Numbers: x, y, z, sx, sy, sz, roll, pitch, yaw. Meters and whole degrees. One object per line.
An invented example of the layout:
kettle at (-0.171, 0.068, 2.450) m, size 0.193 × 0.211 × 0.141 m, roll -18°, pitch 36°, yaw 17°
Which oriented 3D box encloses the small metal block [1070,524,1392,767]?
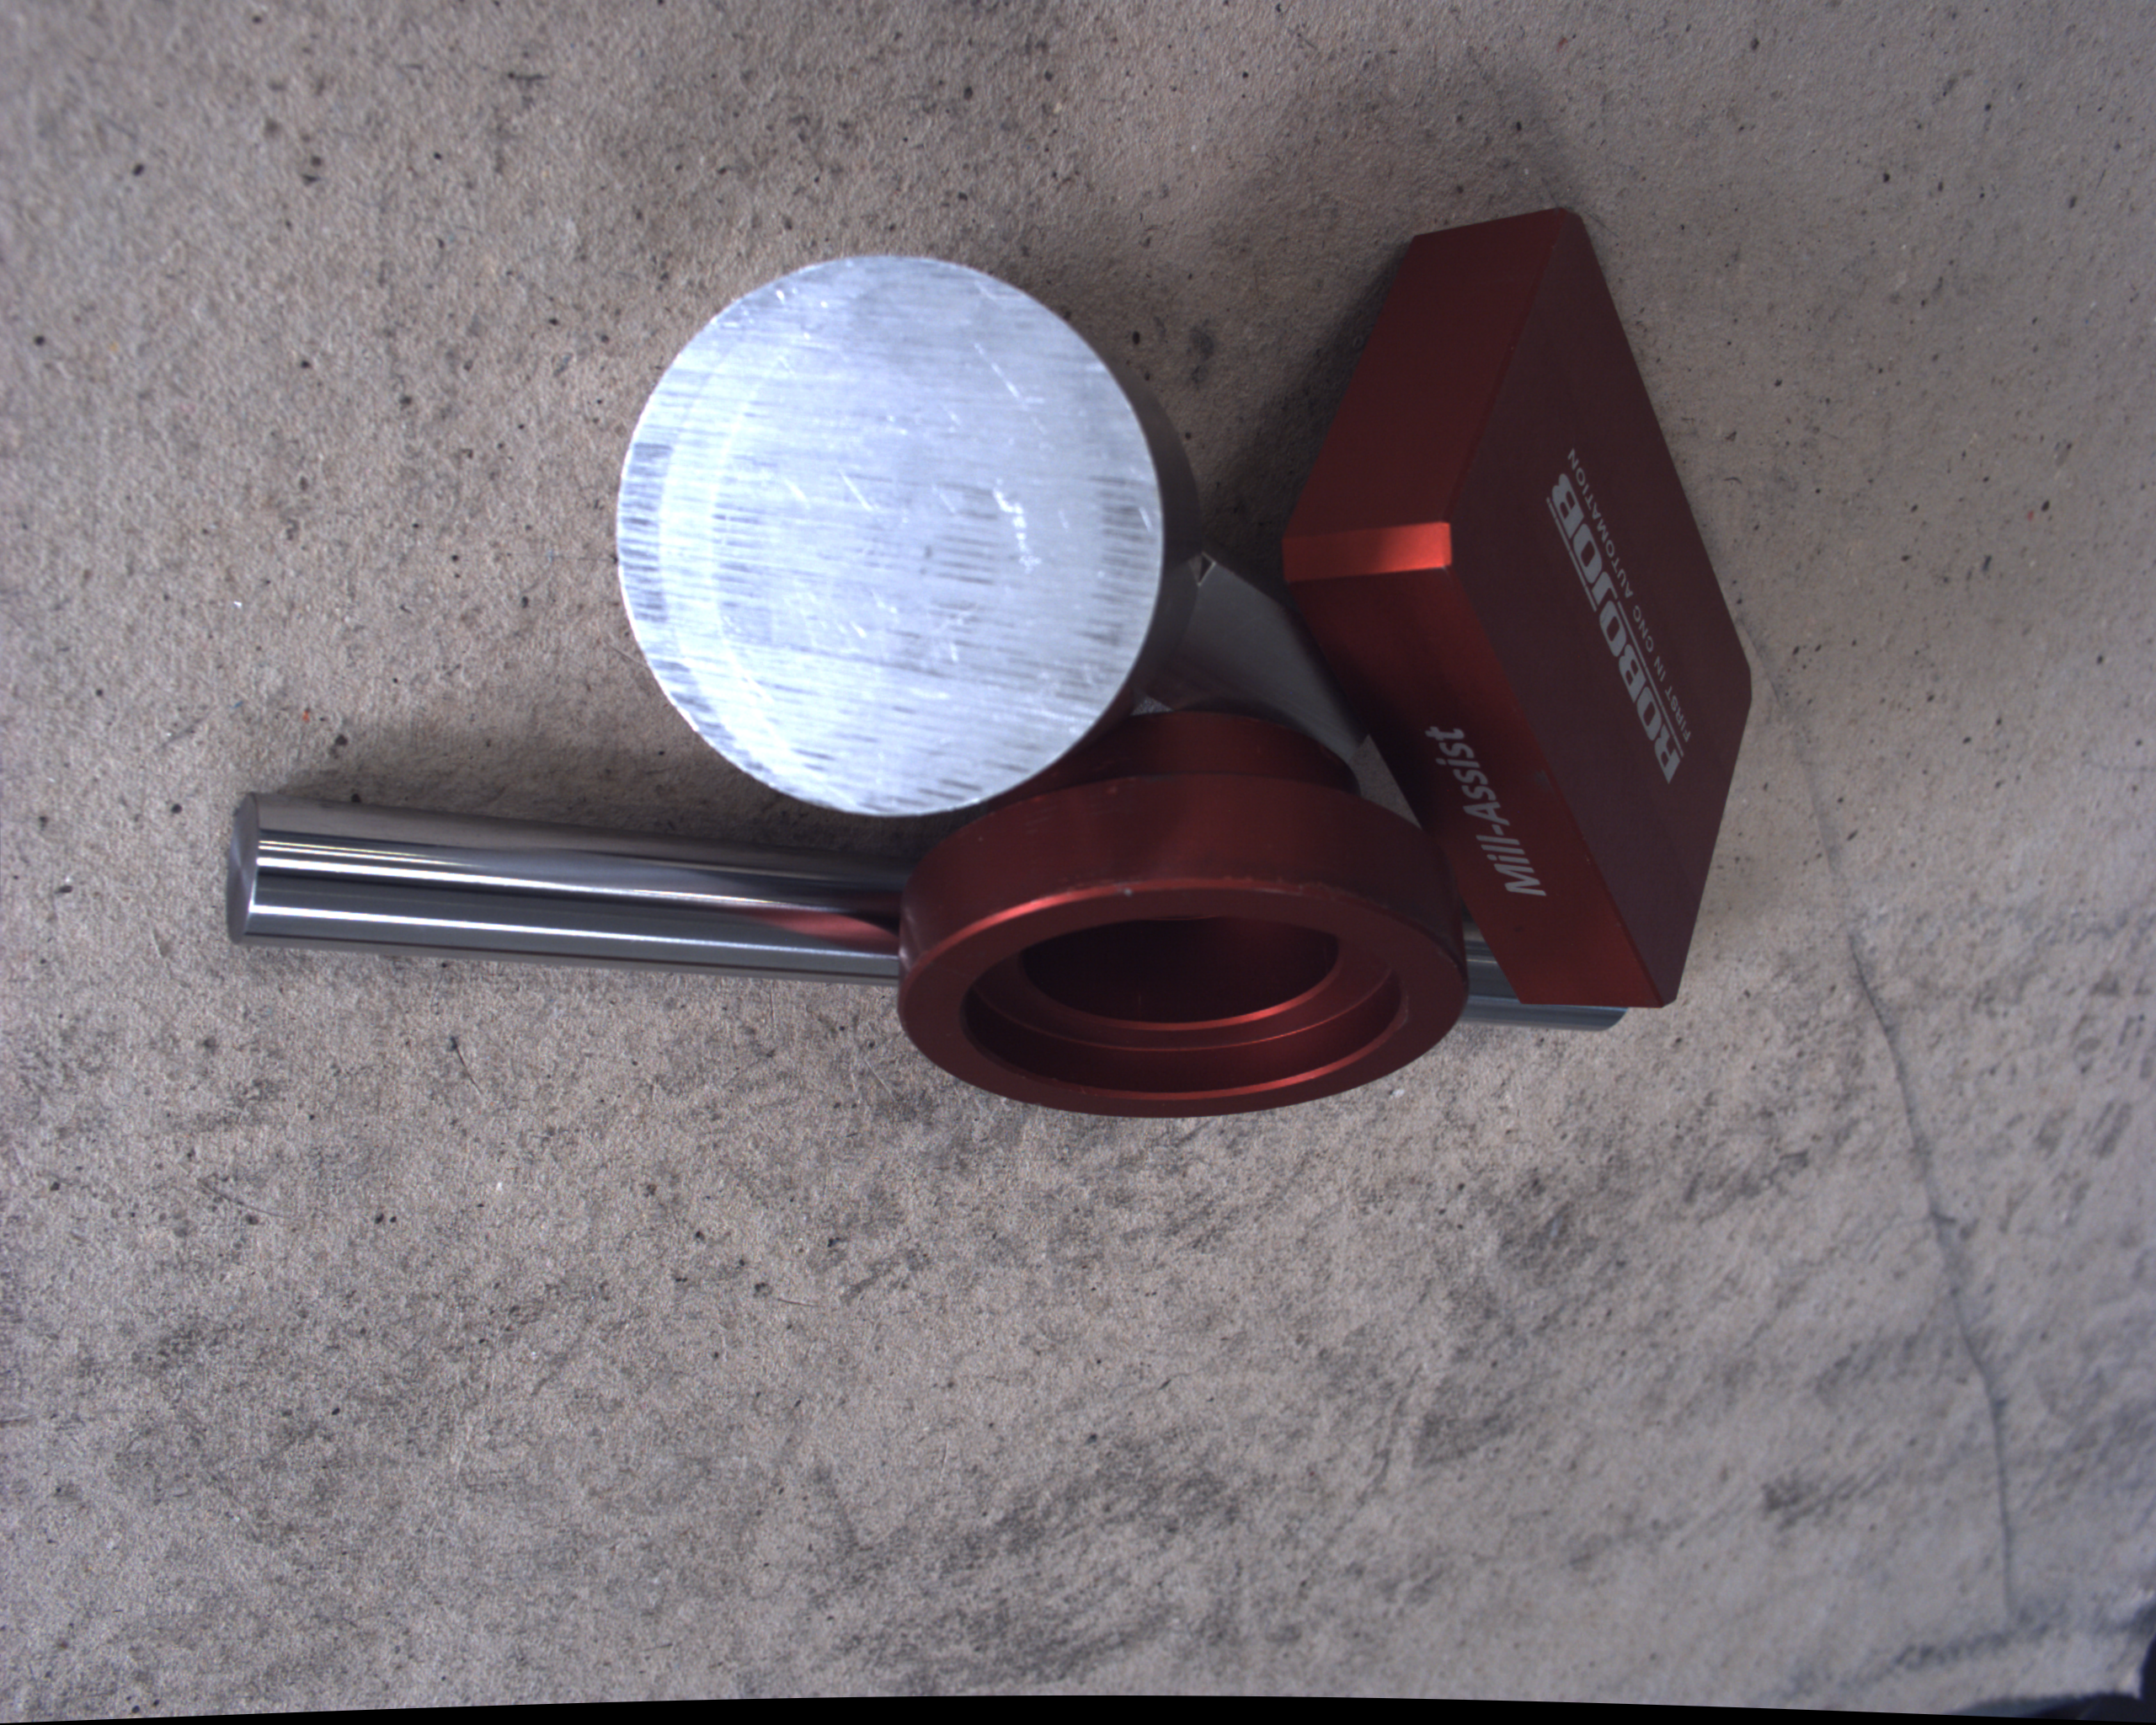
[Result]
small metal block at (0.023, -0.041, 0.377) m, size 0.050 × 0.050 × 0.025 m, roll 26°, pitch 104°, yaw -37°

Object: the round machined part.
round machined part at (0.018, 0.008, 0.372) m, size 0.099 × 0.042 × 0.098 m, roll -2°, pitch 151°, yaw -1°

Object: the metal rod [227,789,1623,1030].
metal rod at (-0.006, 0.014, 0.414) m, size 0.302 × 0.025 × 0.025 m, roll 6°, pitch 116°, yaw -31°

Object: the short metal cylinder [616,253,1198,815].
short metal cylinder at (-0.024, -0.050, 0.323) m, size 0.080 × 0.050 × 0.079 m, roll 1°, pitch 98°, yaw 9°

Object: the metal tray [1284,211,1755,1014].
metal tray at (0.090, -0.043, 0.394) m, size 0.130 × 0.030 × 0.090 m, roll 54°, pitch 48°, yaw -40°
